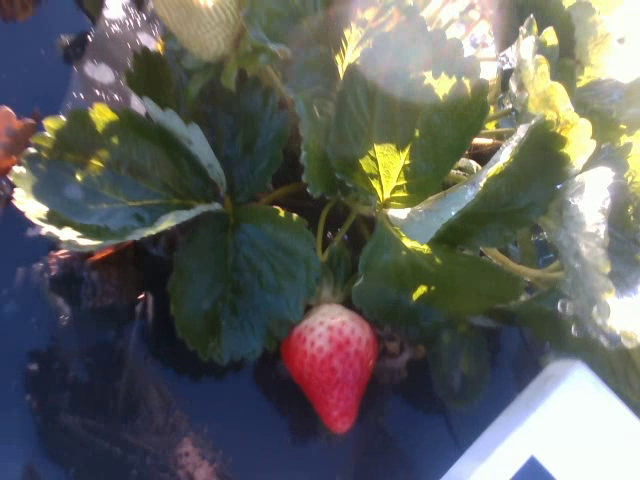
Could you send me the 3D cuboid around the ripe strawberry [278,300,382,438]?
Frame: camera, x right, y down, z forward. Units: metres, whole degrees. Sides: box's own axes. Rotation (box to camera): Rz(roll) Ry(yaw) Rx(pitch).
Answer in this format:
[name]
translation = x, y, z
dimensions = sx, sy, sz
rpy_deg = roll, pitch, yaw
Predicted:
[ripe strawberry]
translation = 0.002, 0.059, 0.277
dimensions = 0.040, 0.065, 0.040
rpy_deg = 0, -10, -11
